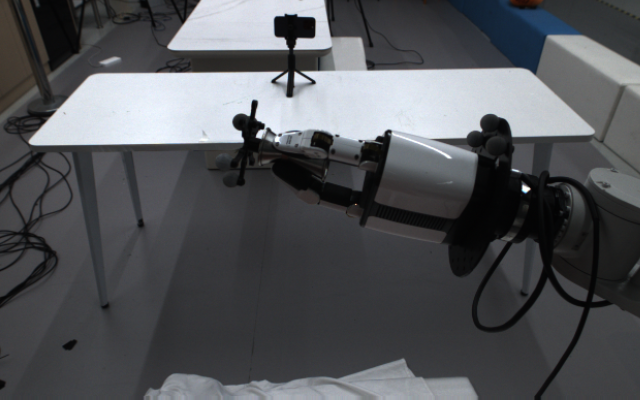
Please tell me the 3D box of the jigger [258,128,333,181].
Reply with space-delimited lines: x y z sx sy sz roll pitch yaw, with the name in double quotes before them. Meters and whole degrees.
"jigger" -0.020 -0.050 0.491 0.071 0.043 0.043 12 36 4
